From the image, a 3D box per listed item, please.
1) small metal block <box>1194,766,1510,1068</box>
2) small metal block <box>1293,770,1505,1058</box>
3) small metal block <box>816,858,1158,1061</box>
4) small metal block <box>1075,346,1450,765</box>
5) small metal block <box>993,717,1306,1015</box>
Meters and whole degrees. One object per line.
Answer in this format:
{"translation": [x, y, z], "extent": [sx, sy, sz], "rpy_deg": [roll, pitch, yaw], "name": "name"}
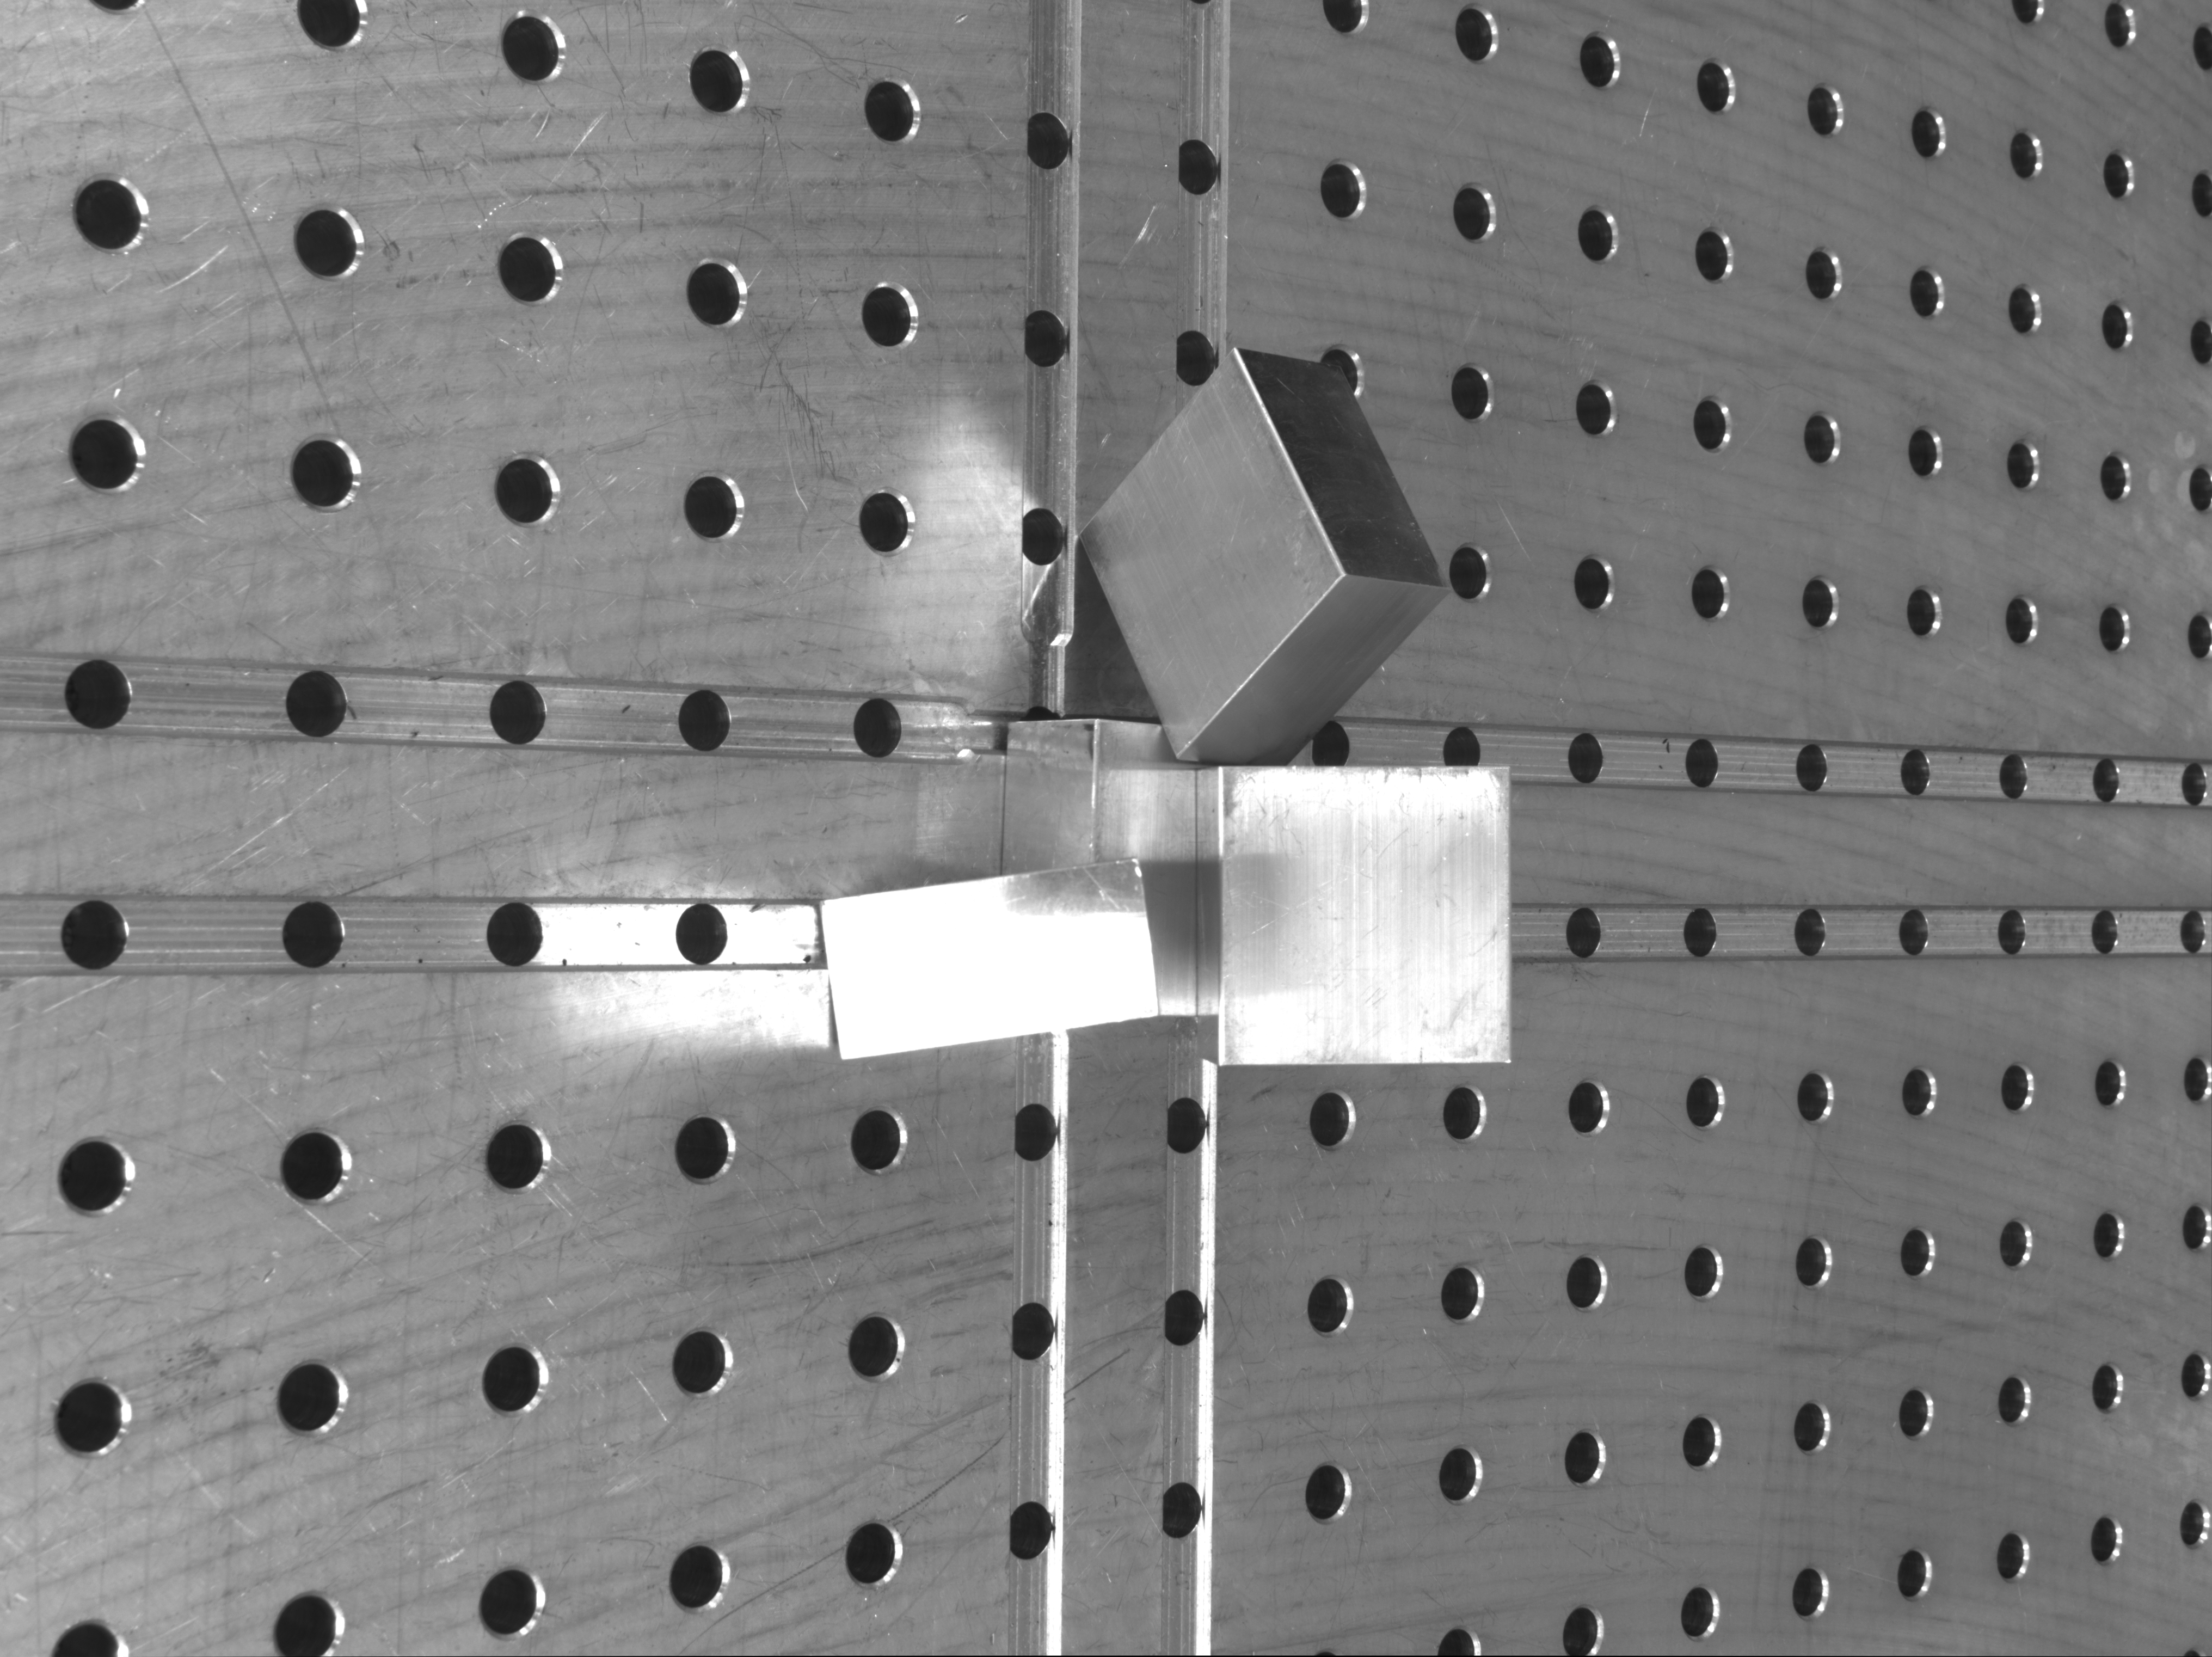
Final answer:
{"translation": [0.041, 0.015, 0.626], "extent": [0.050, 0.025, 0.050], "rpy_deg": [0, 90, -7], "name": "small metal block"}
{"translation": [0.054, 0.016, 0.670], "extent": [0.050, 0.025, 0.050], "rpy_deg": [8, 84, -70], "name": "small metal block"}
{"translation": [-0.020, 0.021, 0.593], "extent": [0.050, 0.050, 0.025], "rpy_deg": [-7, 89, -5], "name": "small metal block"}
{"translation": [0.026, -0.046, 0.631], "extent": [0.025, 0.050, 0.050], "rpy_deg": [4, 52, -39], "name": "small metal block"}
{"translation": [0.008, 0.007, 0.646], "extent": [0.050, 0.025, 0.050], "rpy_deg": [3, 88, -39], "name": "small metal block"}
